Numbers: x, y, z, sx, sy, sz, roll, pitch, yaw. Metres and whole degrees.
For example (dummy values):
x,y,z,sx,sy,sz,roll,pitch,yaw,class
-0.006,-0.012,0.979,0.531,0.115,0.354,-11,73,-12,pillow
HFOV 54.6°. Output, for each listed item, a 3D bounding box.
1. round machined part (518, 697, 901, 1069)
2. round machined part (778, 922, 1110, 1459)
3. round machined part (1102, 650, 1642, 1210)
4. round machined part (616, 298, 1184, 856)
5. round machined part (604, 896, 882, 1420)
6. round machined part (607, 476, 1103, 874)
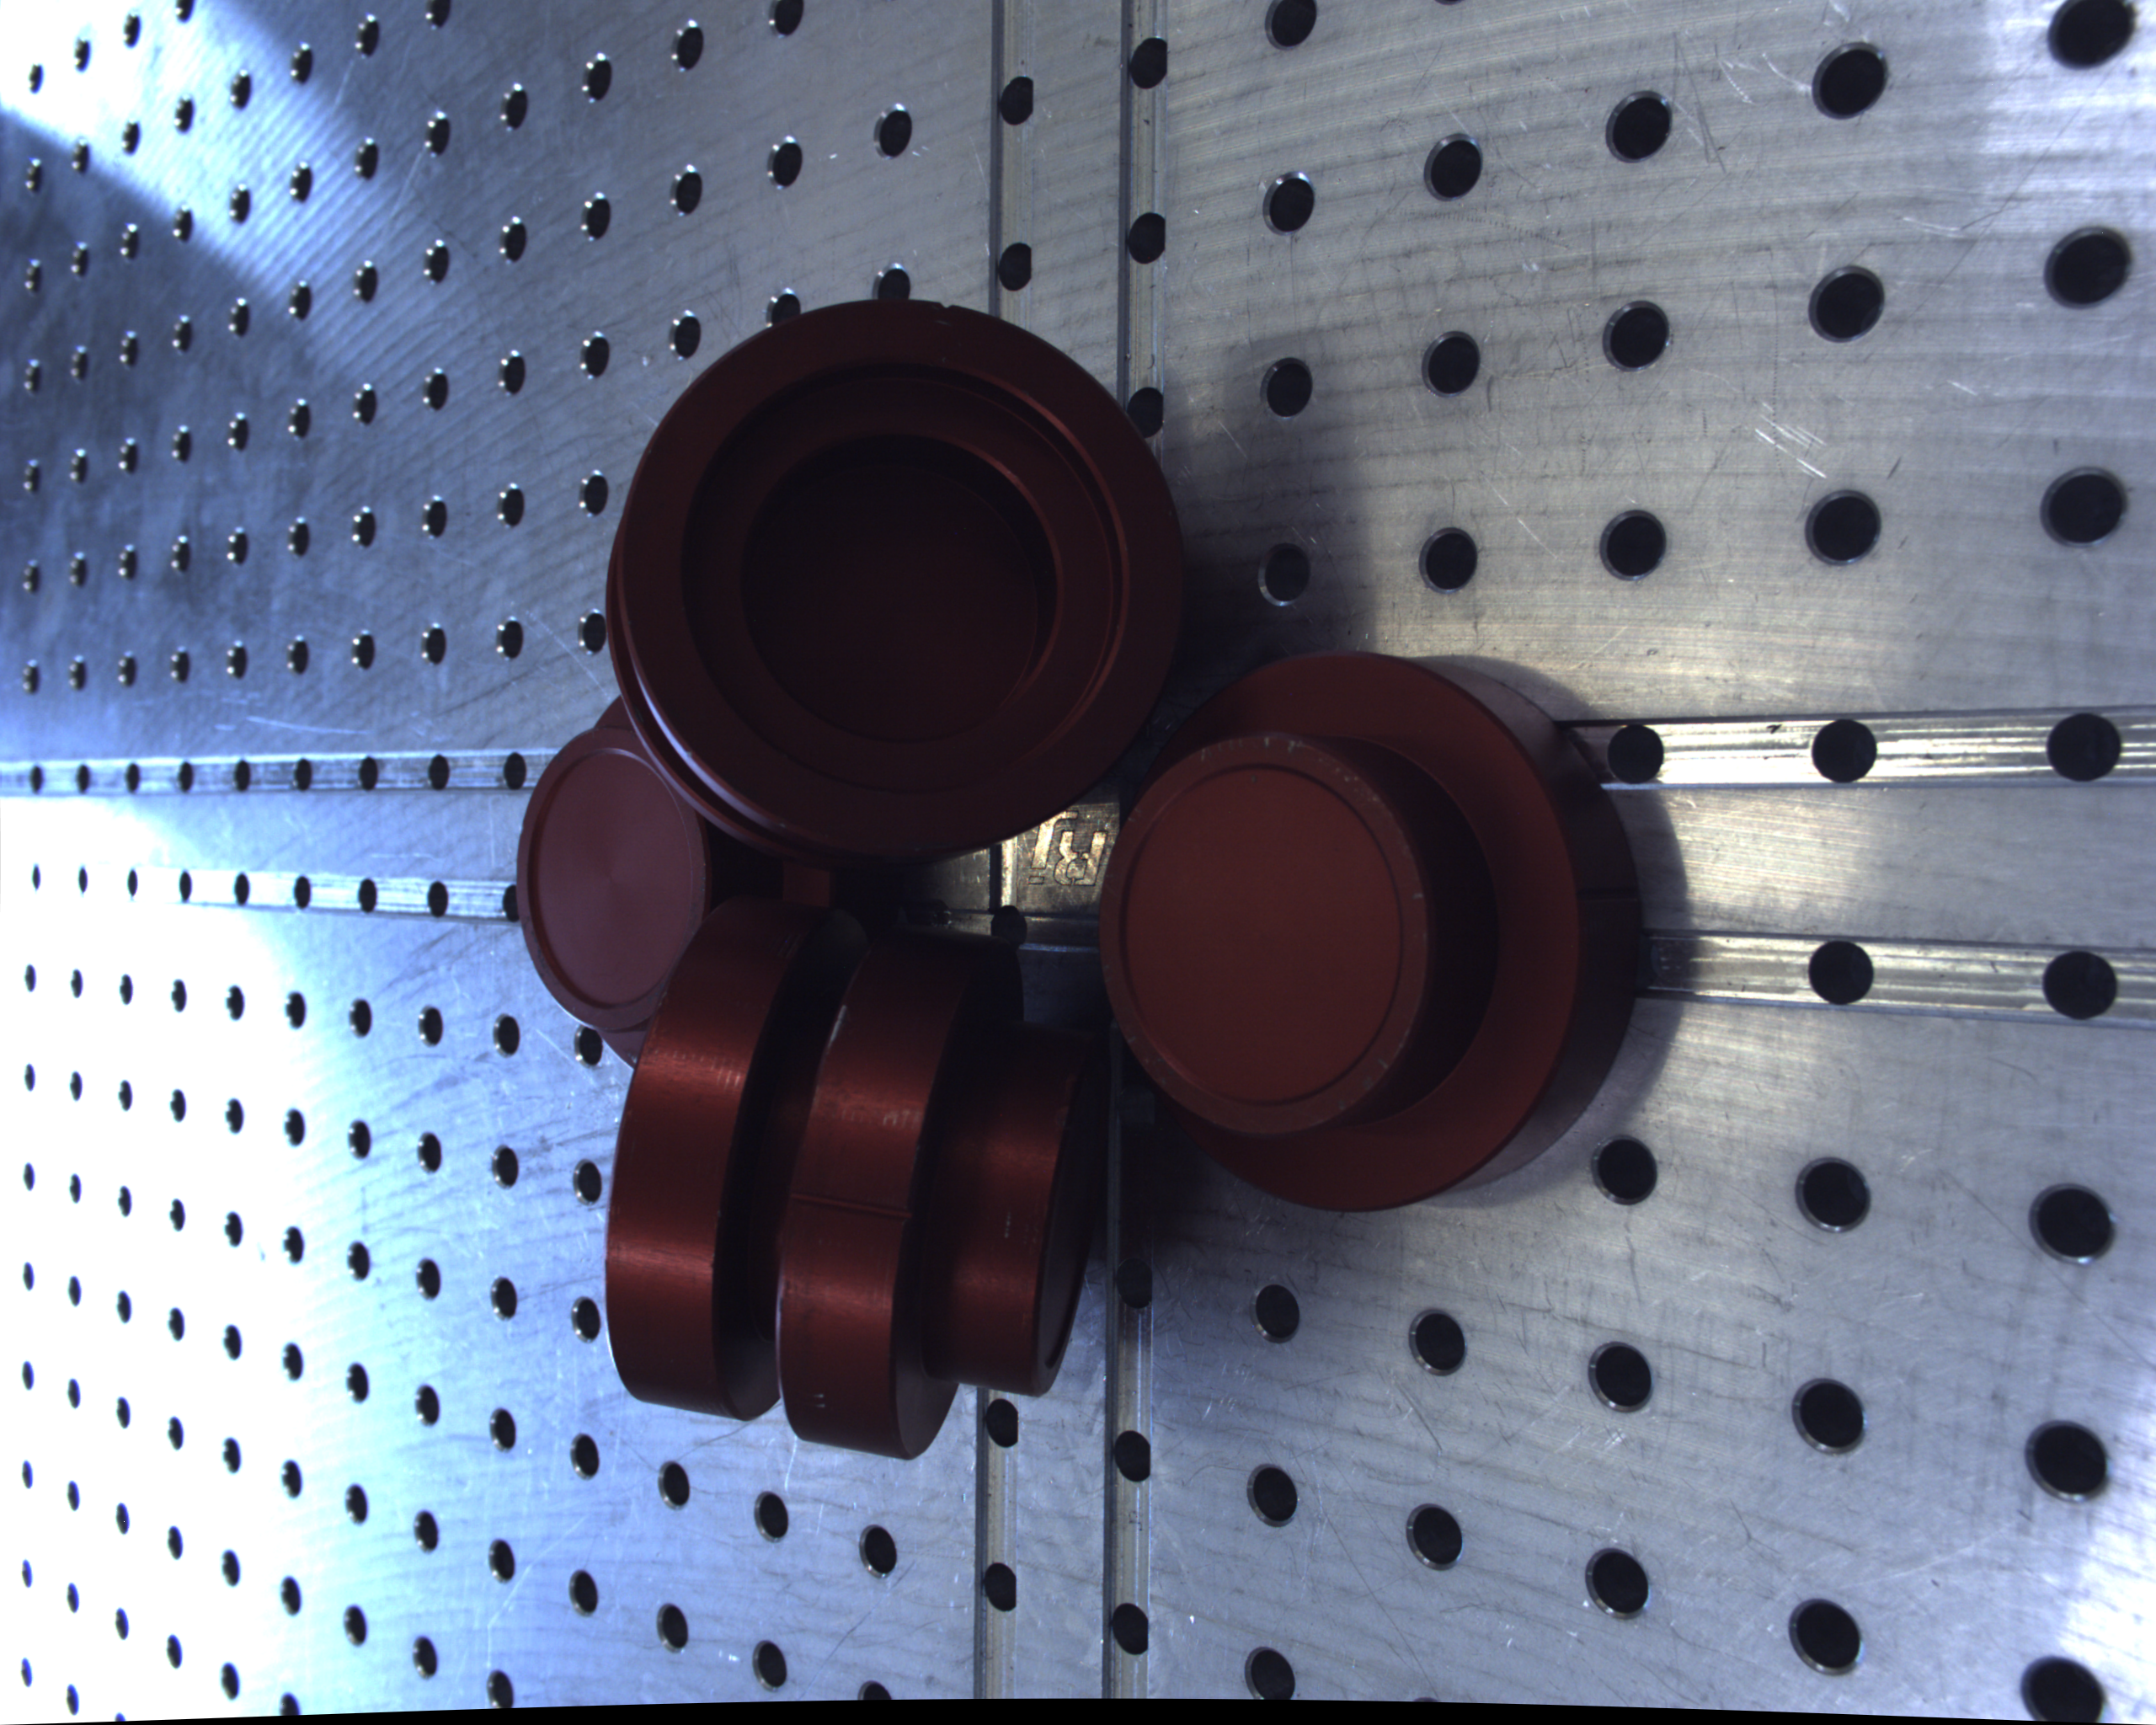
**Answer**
x,y,z,sx,sy,sz,roll,pitch,yaw,class
-0.089,0.003,0.473,0.098,0.042,0.097,0,90,40,round machined part
-0.021,0.062,0.392,0.042,0.098,0.097,9,97,8,round machined part
0.043,0.012,0.364,0.098,0.042,0.097,0,90,40,round machined part
-0.033,-0.049,0.381,0.042,0.099,0.098,157,109,-79,round machined part
-0.052,0.057,0.400,0.042,0.098,0.097,8,96,8,round machined part
-0.042,-0.046,0.412,0.042,0.099,0.098,157,109,-79,round machined part
